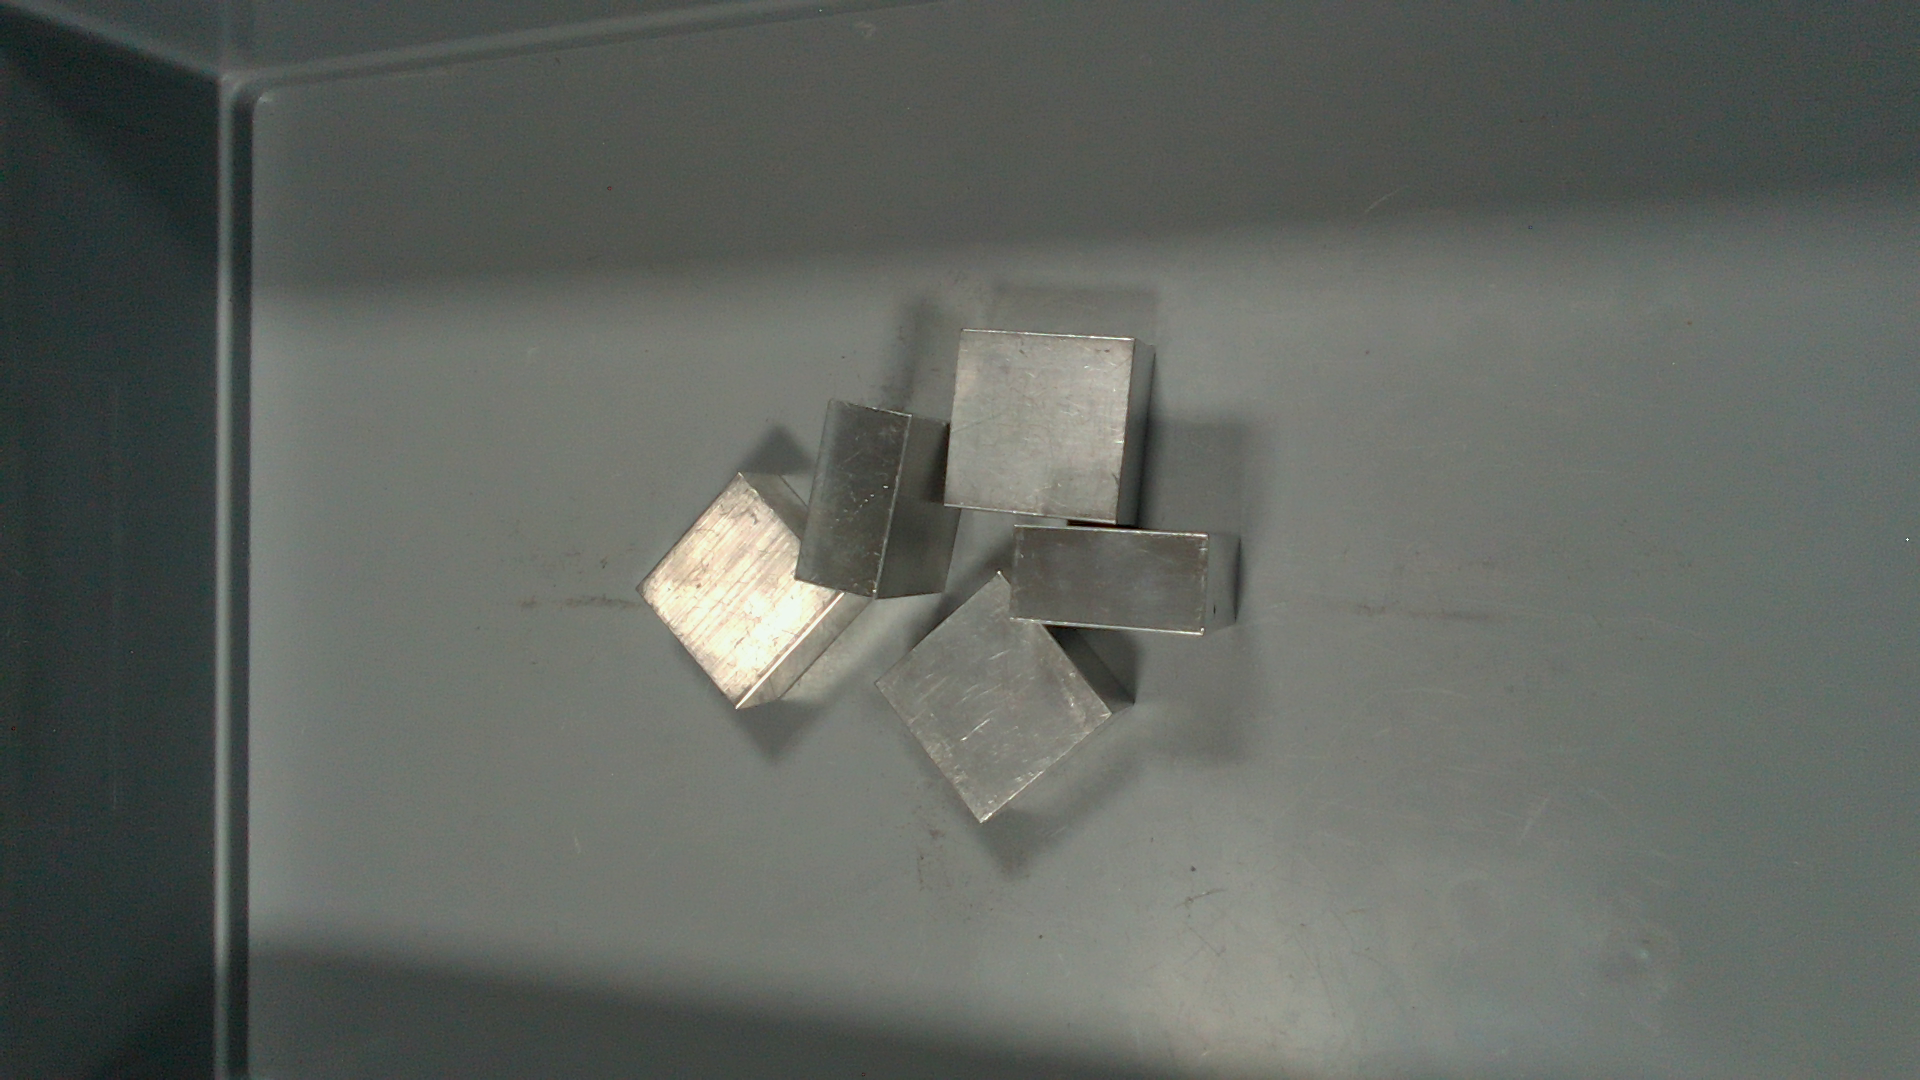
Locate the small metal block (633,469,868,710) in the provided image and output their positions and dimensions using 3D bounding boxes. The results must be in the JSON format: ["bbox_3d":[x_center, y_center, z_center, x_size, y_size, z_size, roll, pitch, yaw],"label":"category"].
[{"bbox_3d":[-0.062,0.015,0.417,0.050,0.025,0.050,47,104,14],"label":"small metal block"}]

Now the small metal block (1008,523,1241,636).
[{"bbox_3d":[0.045,0.009,0.365,0.050,0.050,0.025,3,91,20],"label":"small metal block"}]

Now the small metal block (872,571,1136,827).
[{"bbox_3d":[0.013,0.044,0.390,0.050,0.025,0.050,-43,77,15],"label":"small metal block"}]

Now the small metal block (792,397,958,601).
[{"bbox_3d":[-0.020,-0.011,0.388,0.025,0.050,0.050,13,95,20],"label":"small metal block"}]

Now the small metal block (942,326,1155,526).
[{"bbox_3d":[0.025,-0.032,0.385,0.050,0.025,0.050,7,92,20],"label":"small metal block"}]
